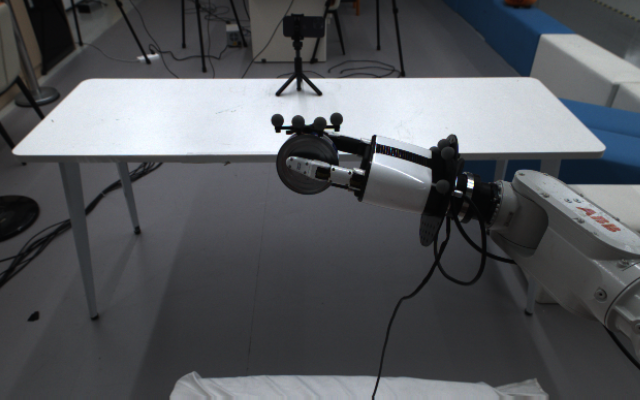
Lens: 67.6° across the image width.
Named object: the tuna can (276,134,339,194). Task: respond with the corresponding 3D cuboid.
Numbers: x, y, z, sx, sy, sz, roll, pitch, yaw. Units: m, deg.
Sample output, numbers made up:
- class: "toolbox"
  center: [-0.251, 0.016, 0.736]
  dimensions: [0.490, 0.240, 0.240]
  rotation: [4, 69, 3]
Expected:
- class: "tuna can"
  center: [-0.014, -0.048, 0.666]
  dimensions: [0.085, 0.085, 0.034]
  rotation: [4, 18, 3]
